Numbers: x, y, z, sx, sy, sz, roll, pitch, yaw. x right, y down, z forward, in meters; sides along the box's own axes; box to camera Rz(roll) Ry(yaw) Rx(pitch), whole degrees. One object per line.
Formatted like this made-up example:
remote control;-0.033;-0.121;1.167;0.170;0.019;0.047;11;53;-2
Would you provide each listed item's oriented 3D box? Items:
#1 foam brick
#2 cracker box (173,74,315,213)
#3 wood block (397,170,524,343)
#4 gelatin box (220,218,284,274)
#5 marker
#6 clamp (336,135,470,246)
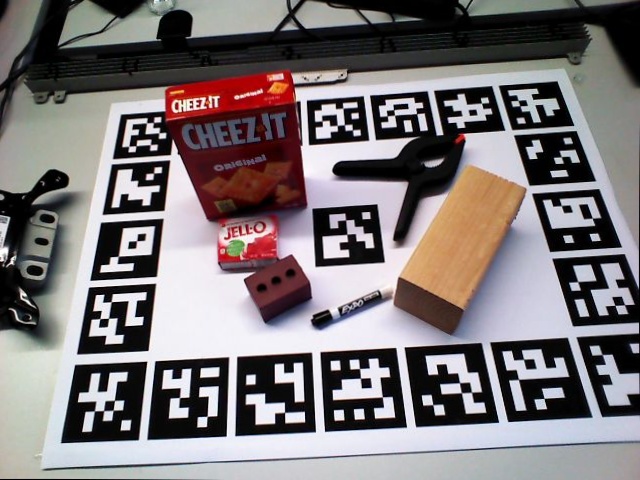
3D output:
foam brick;-0.056;0.072;0.702;0.078;0.051;0.052;-25;65;-9
cracker box;-0.093;-0.127;0.712;0.164;0.214;0.071;-6;61;-1
wood block;0.194;0.019;0.693;0.090;0.091;0.205;28;65;20
gelatin box;-0.099;0.009;0.754;0.089;0.030;0.073;-4;64;2
marker;0.035;0.100;0.696;0.121;0.020;0.019;-21;64;-7
clamp;0.152;-0.100;0.785;0.202;0.037;0.165;-31;65;-11
